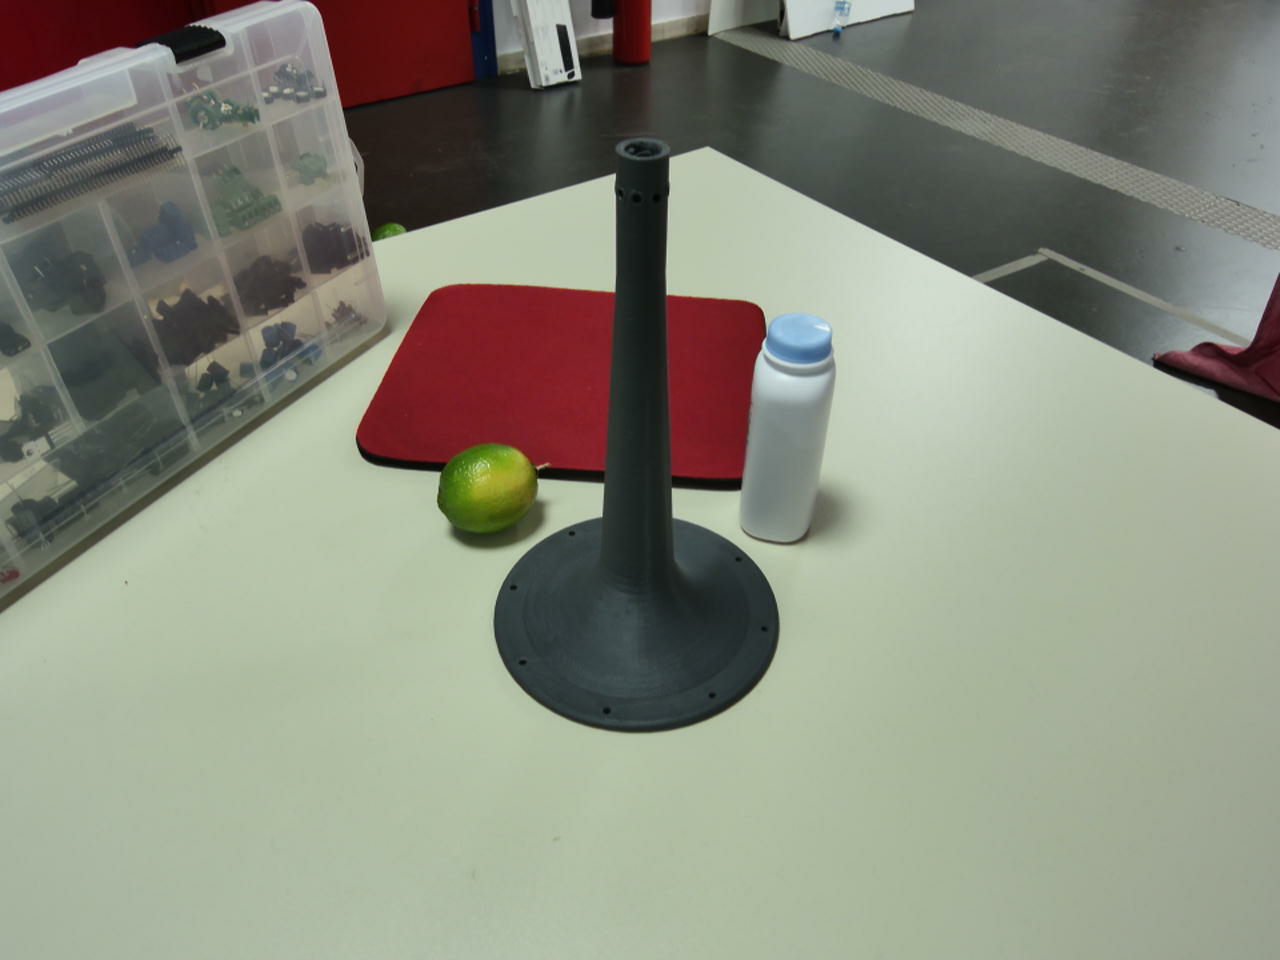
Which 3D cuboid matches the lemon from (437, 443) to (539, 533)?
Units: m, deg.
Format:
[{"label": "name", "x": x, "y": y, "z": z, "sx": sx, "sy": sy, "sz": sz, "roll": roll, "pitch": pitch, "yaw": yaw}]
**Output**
[{"label": "lemon", "x": -0.087, "y": 0.004, "z": 0.574, "sx": 0.055, "sy": 0.050, "sz": 0.054, "roll": 10, "pitch": 39, "yaw": 10}]
